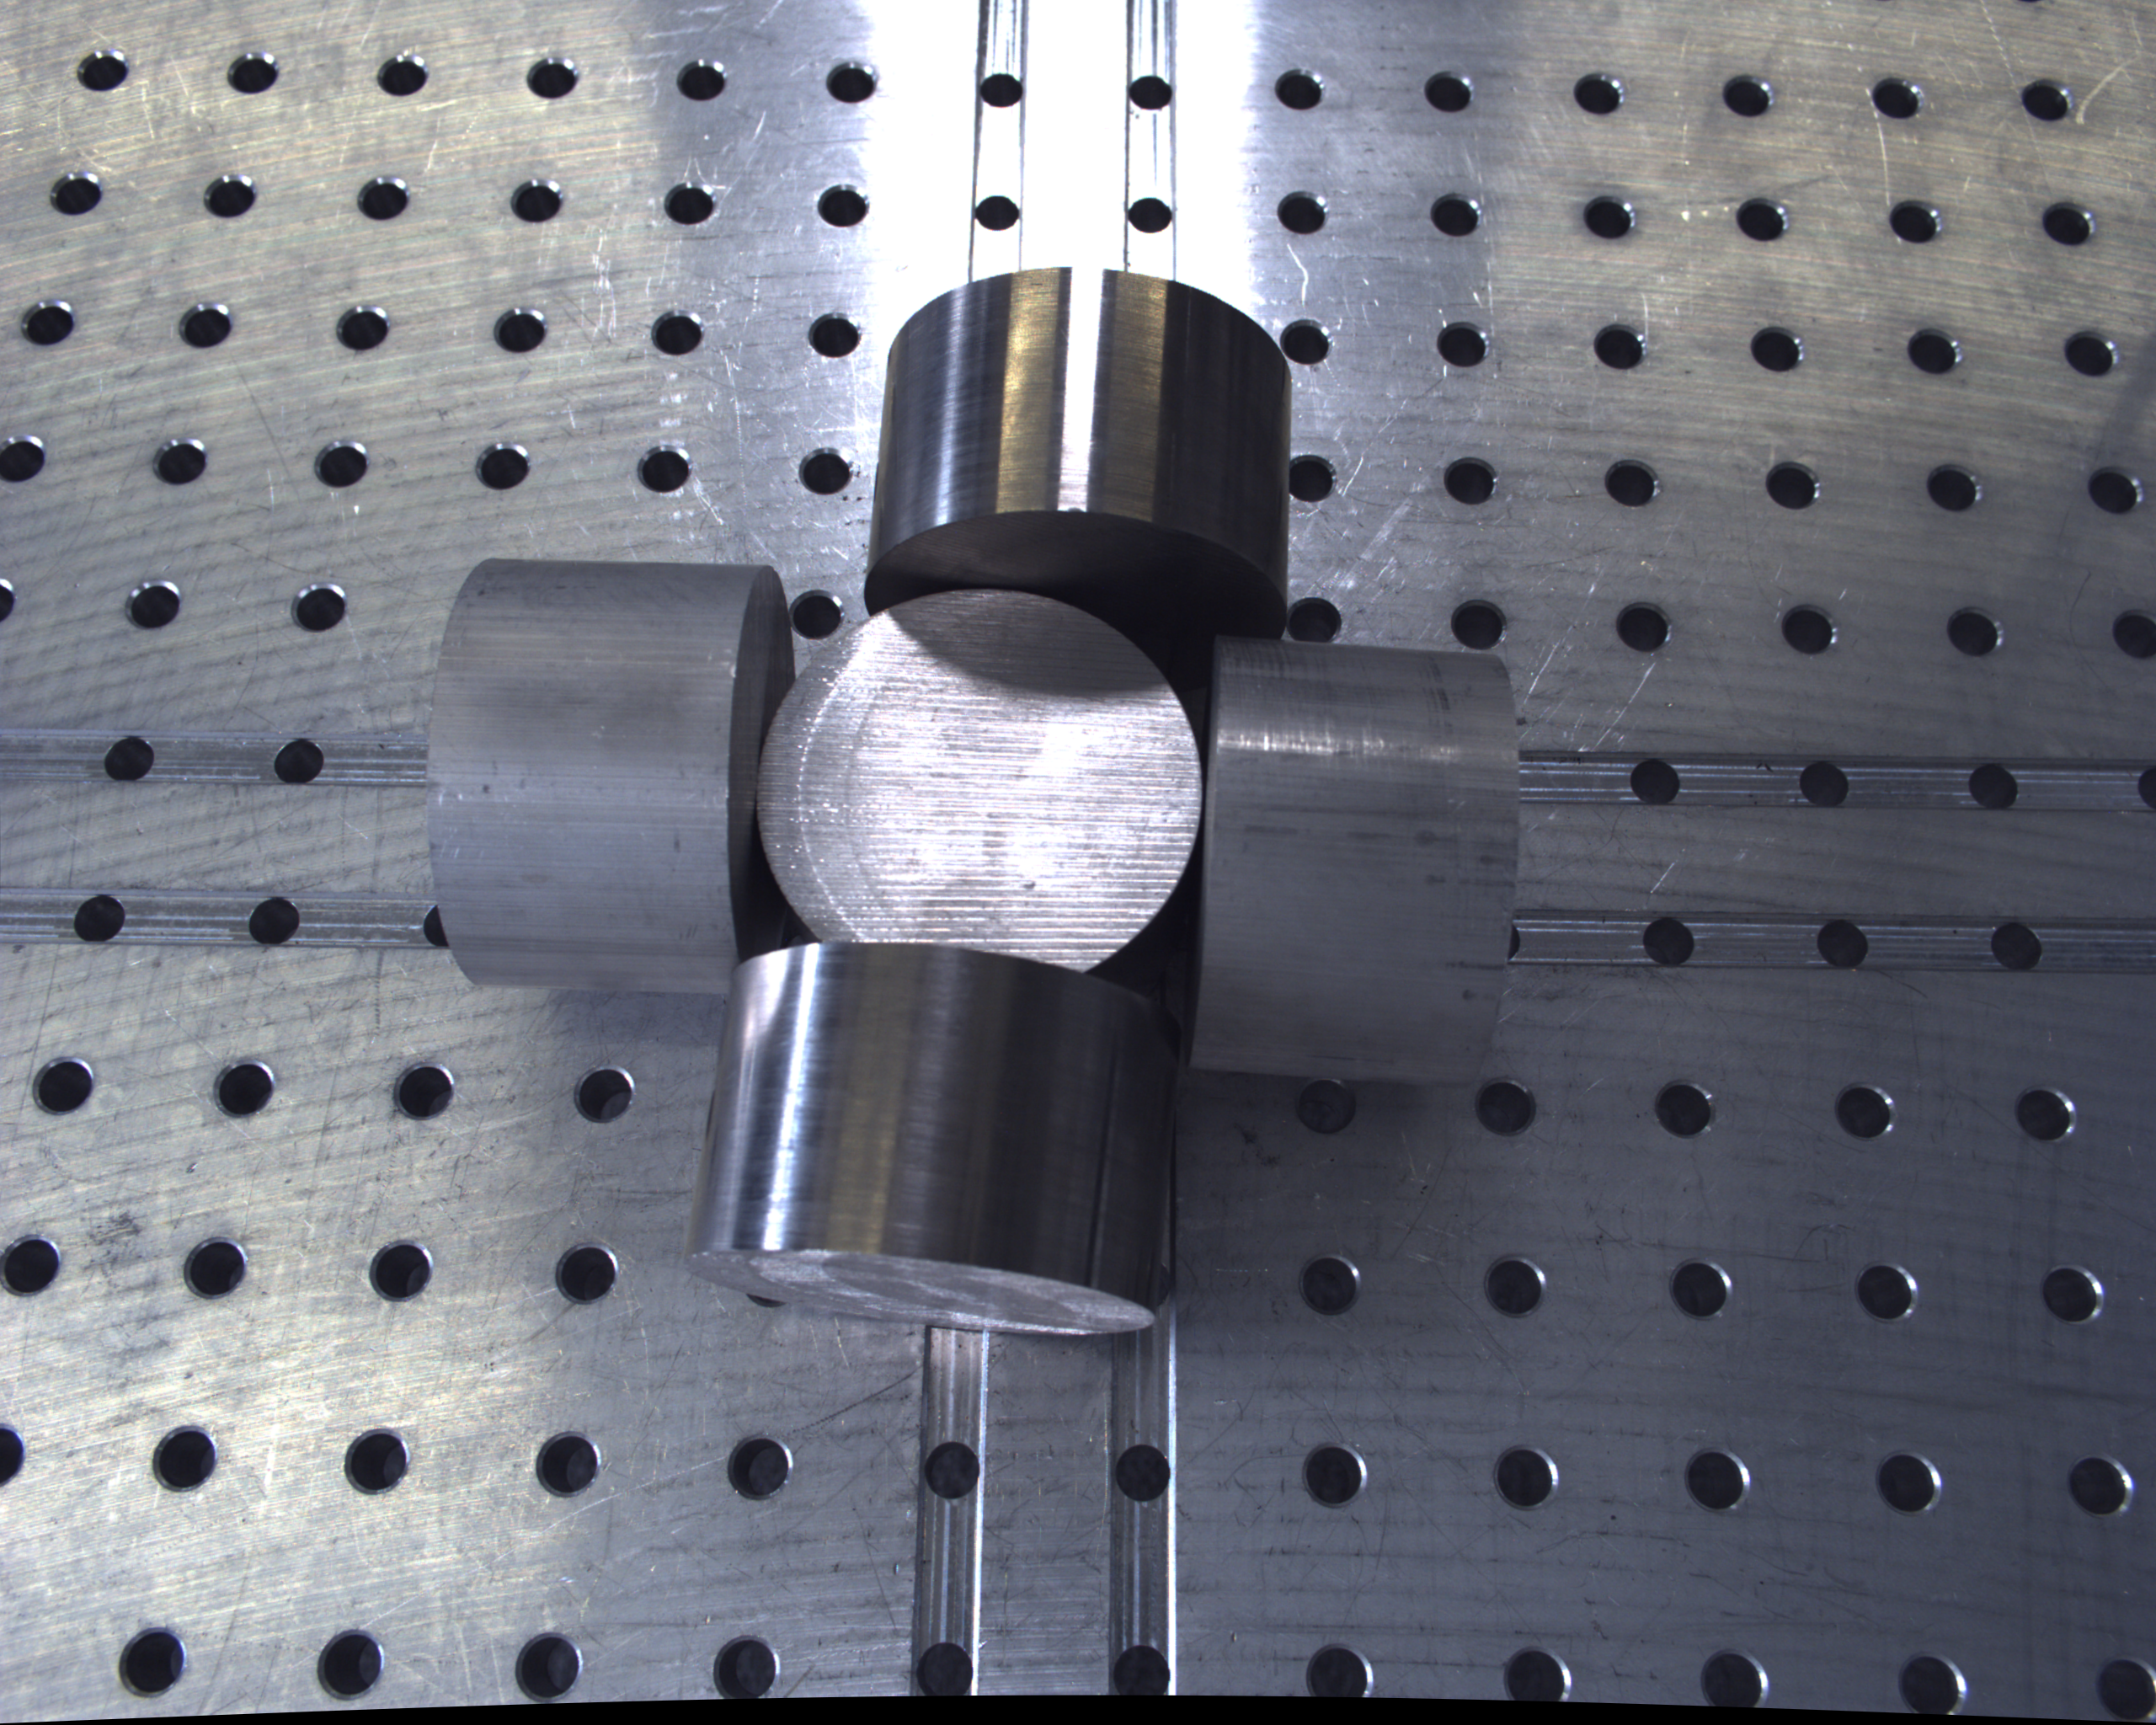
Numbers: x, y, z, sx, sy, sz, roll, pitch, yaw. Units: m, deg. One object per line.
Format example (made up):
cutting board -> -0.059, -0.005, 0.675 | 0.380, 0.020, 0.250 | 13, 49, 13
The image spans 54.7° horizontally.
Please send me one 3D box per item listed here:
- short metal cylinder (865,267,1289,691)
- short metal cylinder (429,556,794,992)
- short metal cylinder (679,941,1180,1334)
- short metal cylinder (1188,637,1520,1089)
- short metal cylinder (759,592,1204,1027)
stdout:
short metal cylinder -> 0.001, -0.071, 0.408 | 0.080, 0.080, 0.050 | 3, 70, 1
short metal cylinder -> -0.083, -0.016, 0.387 | 0.050, 0.080, 0.080 | 2, 70, 0
short metal cylinder -> -0.025, 0.050, 0.363 | 0.080, 0.080, 0.050 | 6, 70, 2
short metal cylinder -> 0.048, 0.000, 0.383 | 0.050, 0.080, 0.080 | 4, 70, 1
short metal cylinder -> -0.018, -0.005, 0.400 | 0.081, 0.050, 0.080 | 1, 70, -1
